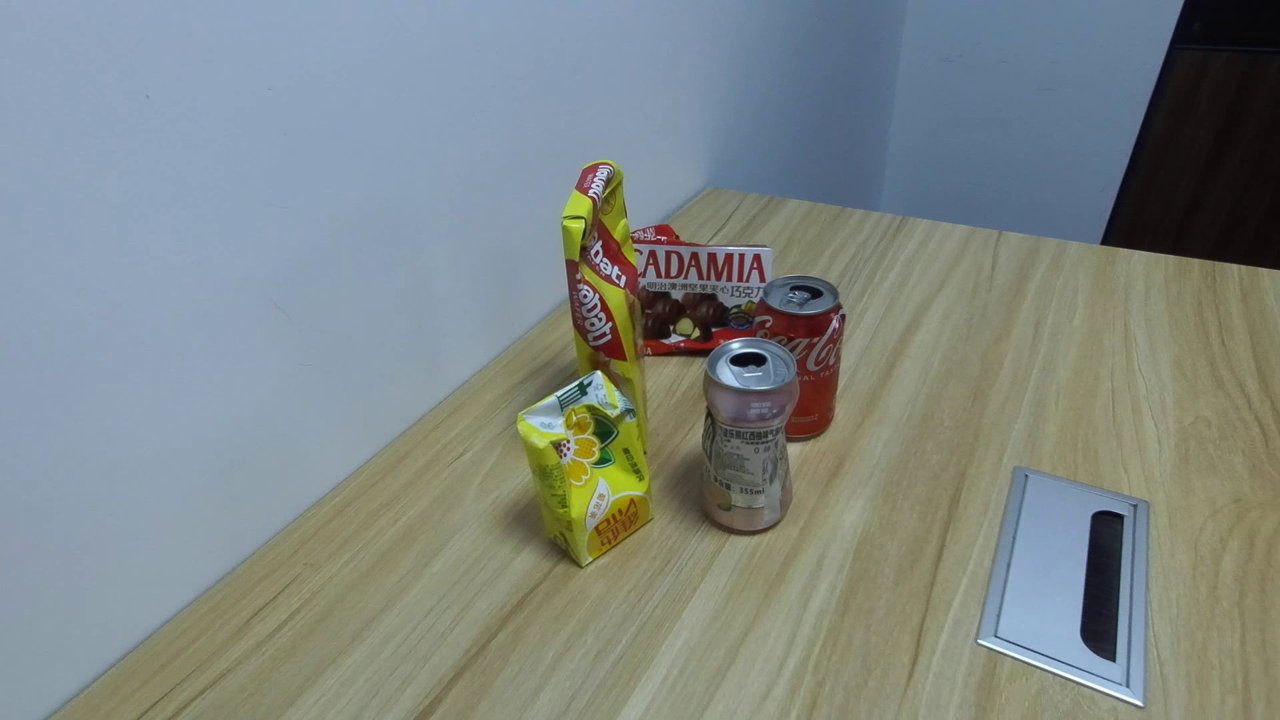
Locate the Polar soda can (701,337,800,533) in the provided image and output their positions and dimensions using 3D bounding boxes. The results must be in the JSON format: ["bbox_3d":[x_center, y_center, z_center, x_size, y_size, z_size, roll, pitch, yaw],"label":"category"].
[{"bbox_3d":[0.073,0.051,0.467,0.074,0.122,0.067,-28,41,-30],"label":"Polar soda can"}]

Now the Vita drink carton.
[{"bbox_3d":[-0.031,0.072,0.460,0.071,0.110,0.046,-29,38,-27],"label":"Vita drink carton"}]

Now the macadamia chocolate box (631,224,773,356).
[{"bbox_3d":[0.055,-0.062,0.635,0.126,0.112,0.056,2,34,11],"label":"macadamia chocolate box"}]

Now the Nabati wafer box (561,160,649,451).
[{"bbox_3d":[-0.022,-0.033,0.525,0.042,0.205,0.113,-4,38,4],"label":"Nabati wafer box"}]

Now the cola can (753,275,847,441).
[{"bbox_3d":[0.120,-0.002,0.541,0.068,0.120,0.067,-3,35,2],"label":"cola can"}]
